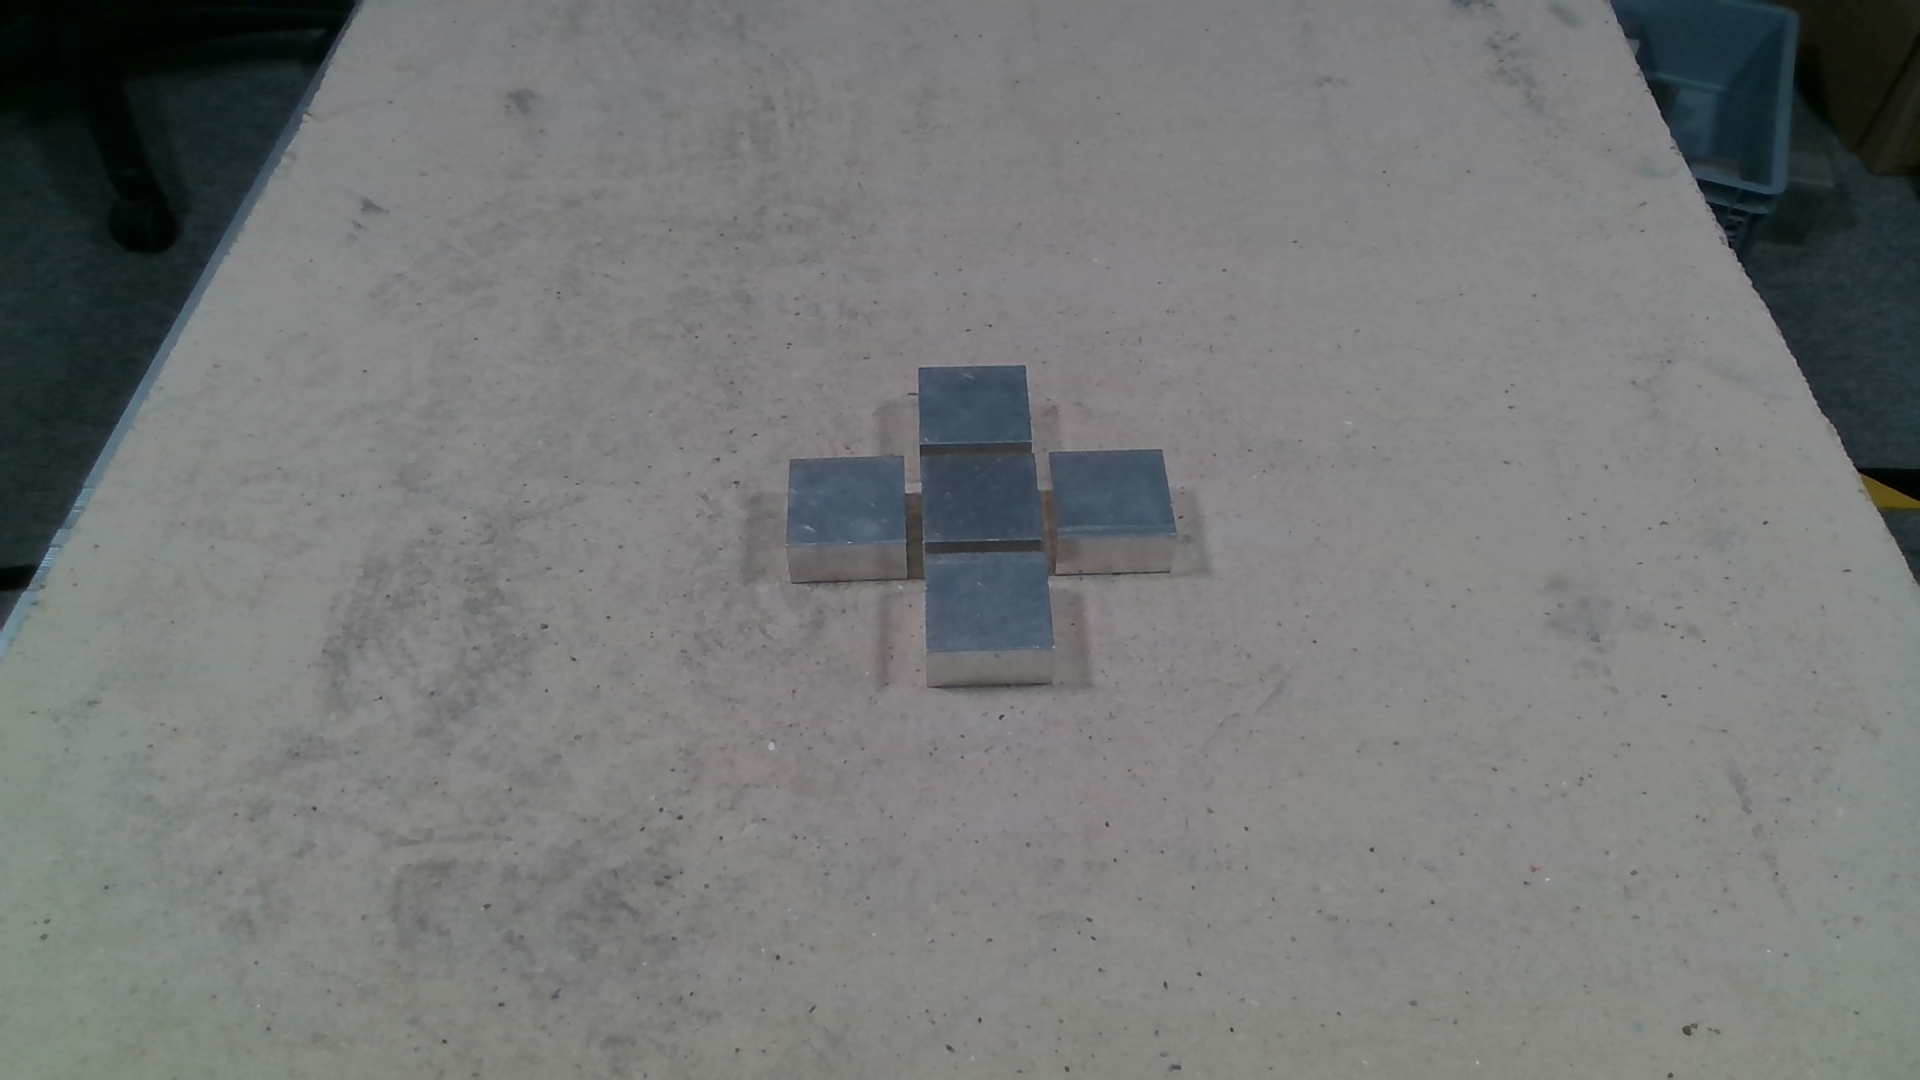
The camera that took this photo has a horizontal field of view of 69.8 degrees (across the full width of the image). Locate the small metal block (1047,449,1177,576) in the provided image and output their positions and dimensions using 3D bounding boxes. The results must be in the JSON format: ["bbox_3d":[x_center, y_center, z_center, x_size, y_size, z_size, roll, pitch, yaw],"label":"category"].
[{"bbox_3d":[0.065,-0.012,0.598,0.050,0.025,0.050,-2,50,-1],"label":"small metal block"}]

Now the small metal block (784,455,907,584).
[{"bbox_3d":[-0.049,-0.009,0.595,0.050,0.025,0.050,-2,50,-1],"label":"small metal block"}]

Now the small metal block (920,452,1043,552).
[{"bbox_3d":[0.008,-0.011,0.596,0.050,0.025,0.050,-2,50,-1],"label":"small metal block"}]

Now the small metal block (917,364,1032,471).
[{"bbox_3d":[0.006,-0.054,0.632,0.050,0.025,0.050,-2,50,-1],"label":"small metal block"}]

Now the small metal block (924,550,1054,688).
[{"bbox_3d":[0.011,0.032,0.561,0.050,0.025,0.050,-2,50,-1],"label":"small metal block"}]
